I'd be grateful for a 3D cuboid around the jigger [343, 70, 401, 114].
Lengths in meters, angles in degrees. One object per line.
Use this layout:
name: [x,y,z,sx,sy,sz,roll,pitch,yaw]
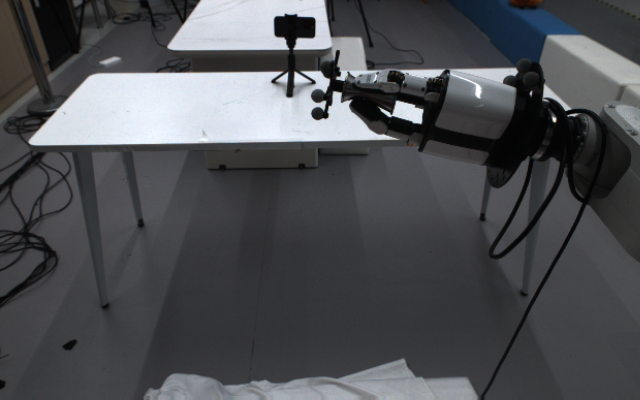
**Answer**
jigger: [0.071,-0.142,0.623,0.071,0.043,0.043,13,36,4]
